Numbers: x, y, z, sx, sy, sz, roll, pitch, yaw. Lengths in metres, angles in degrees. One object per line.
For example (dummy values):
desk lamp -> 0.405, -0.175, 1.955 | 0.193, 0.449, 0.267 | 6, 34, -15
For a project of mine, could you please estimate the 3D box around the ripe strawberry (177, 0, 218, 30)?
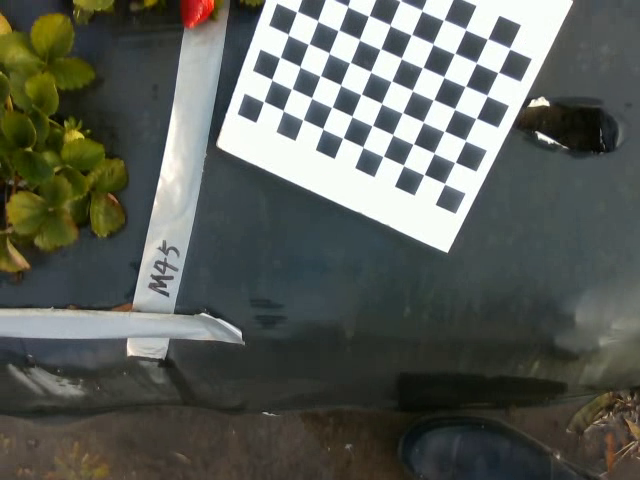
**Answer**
ripe strawberry -> -0.126, -0.226, 0.618 | 0.050, 0.055, 0.036 | 17, -5, 0
